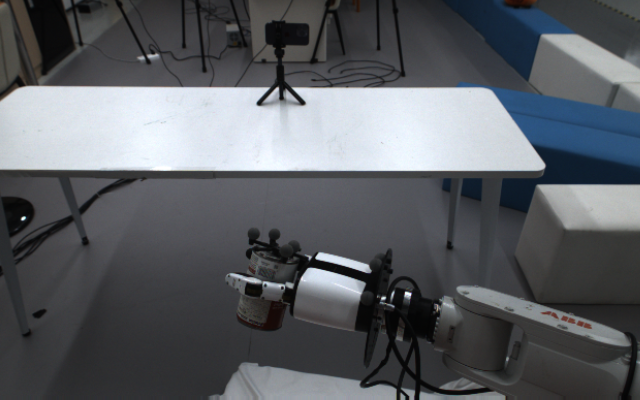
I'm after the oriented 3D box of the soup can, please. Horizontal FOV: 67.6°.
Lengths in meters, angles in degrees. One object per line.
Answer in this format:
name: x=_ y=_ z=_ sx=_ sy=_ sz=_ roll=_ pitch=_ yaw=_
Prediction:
soup can: x=-0.071 y=0.122 z=0.673 sx=0.067 sy=0.101 sz=0.067 roll=15 pitch=7 yaw=-2
